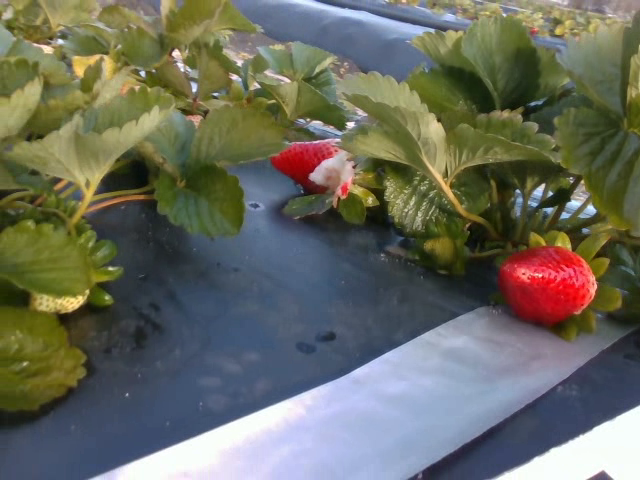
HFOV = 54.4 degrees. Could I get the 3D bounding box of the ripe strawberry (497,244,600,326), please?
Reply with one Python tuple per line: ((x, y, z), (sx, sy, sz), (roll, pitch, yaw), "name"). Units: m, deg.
((0.085, 0.014, 0.238), (0.055, 0.035, 0.050), (-6, 35, -34), "ripe strawberry")
